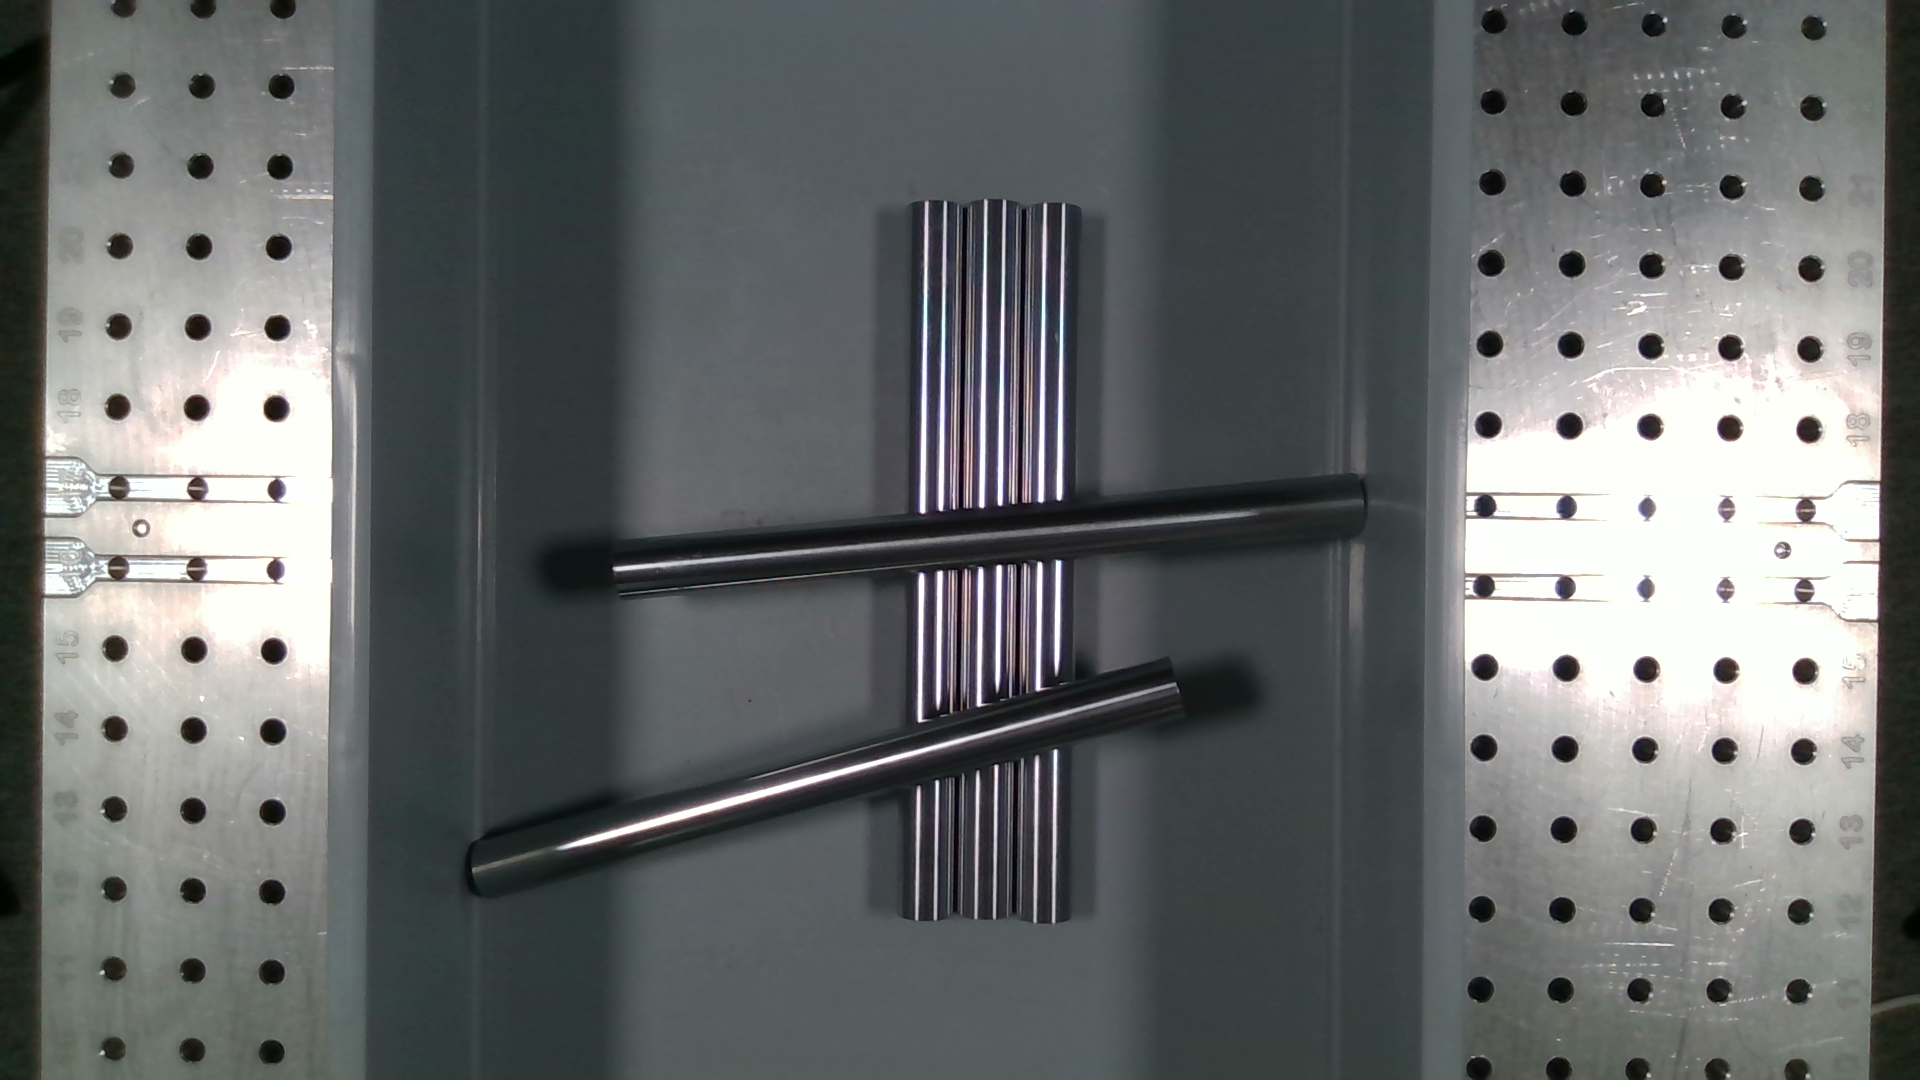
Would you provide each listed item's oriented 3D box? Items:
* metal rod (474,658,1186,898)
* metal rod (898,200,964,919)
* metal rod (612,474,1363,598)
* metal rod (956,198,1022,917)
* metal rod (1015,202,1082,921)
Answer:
[{"bbox_3d":[-0.057,0.099,0.567,0.300,0.025,0.025,-16,90,7],"label":"metal rod"},{"bbox_3d":[-0.013,0.008,0.586,0.025,0.025,0.300,1,91,0],"label":"metal rod"},{"bbox_3d":[0.011,-0.002,0.561,0.300,0.025,0.025,-5,90,0],"label":"metal rod"},{"bbox_3d":[0.012,0.008,0.586,0.025,0.025,0.300,1,91,0],"label":"metal rod"},{"bbox_3d":[0.037,0.009,0.586,0.025,0.025,0.300,1,91,0],"label":"metal rod"}]
